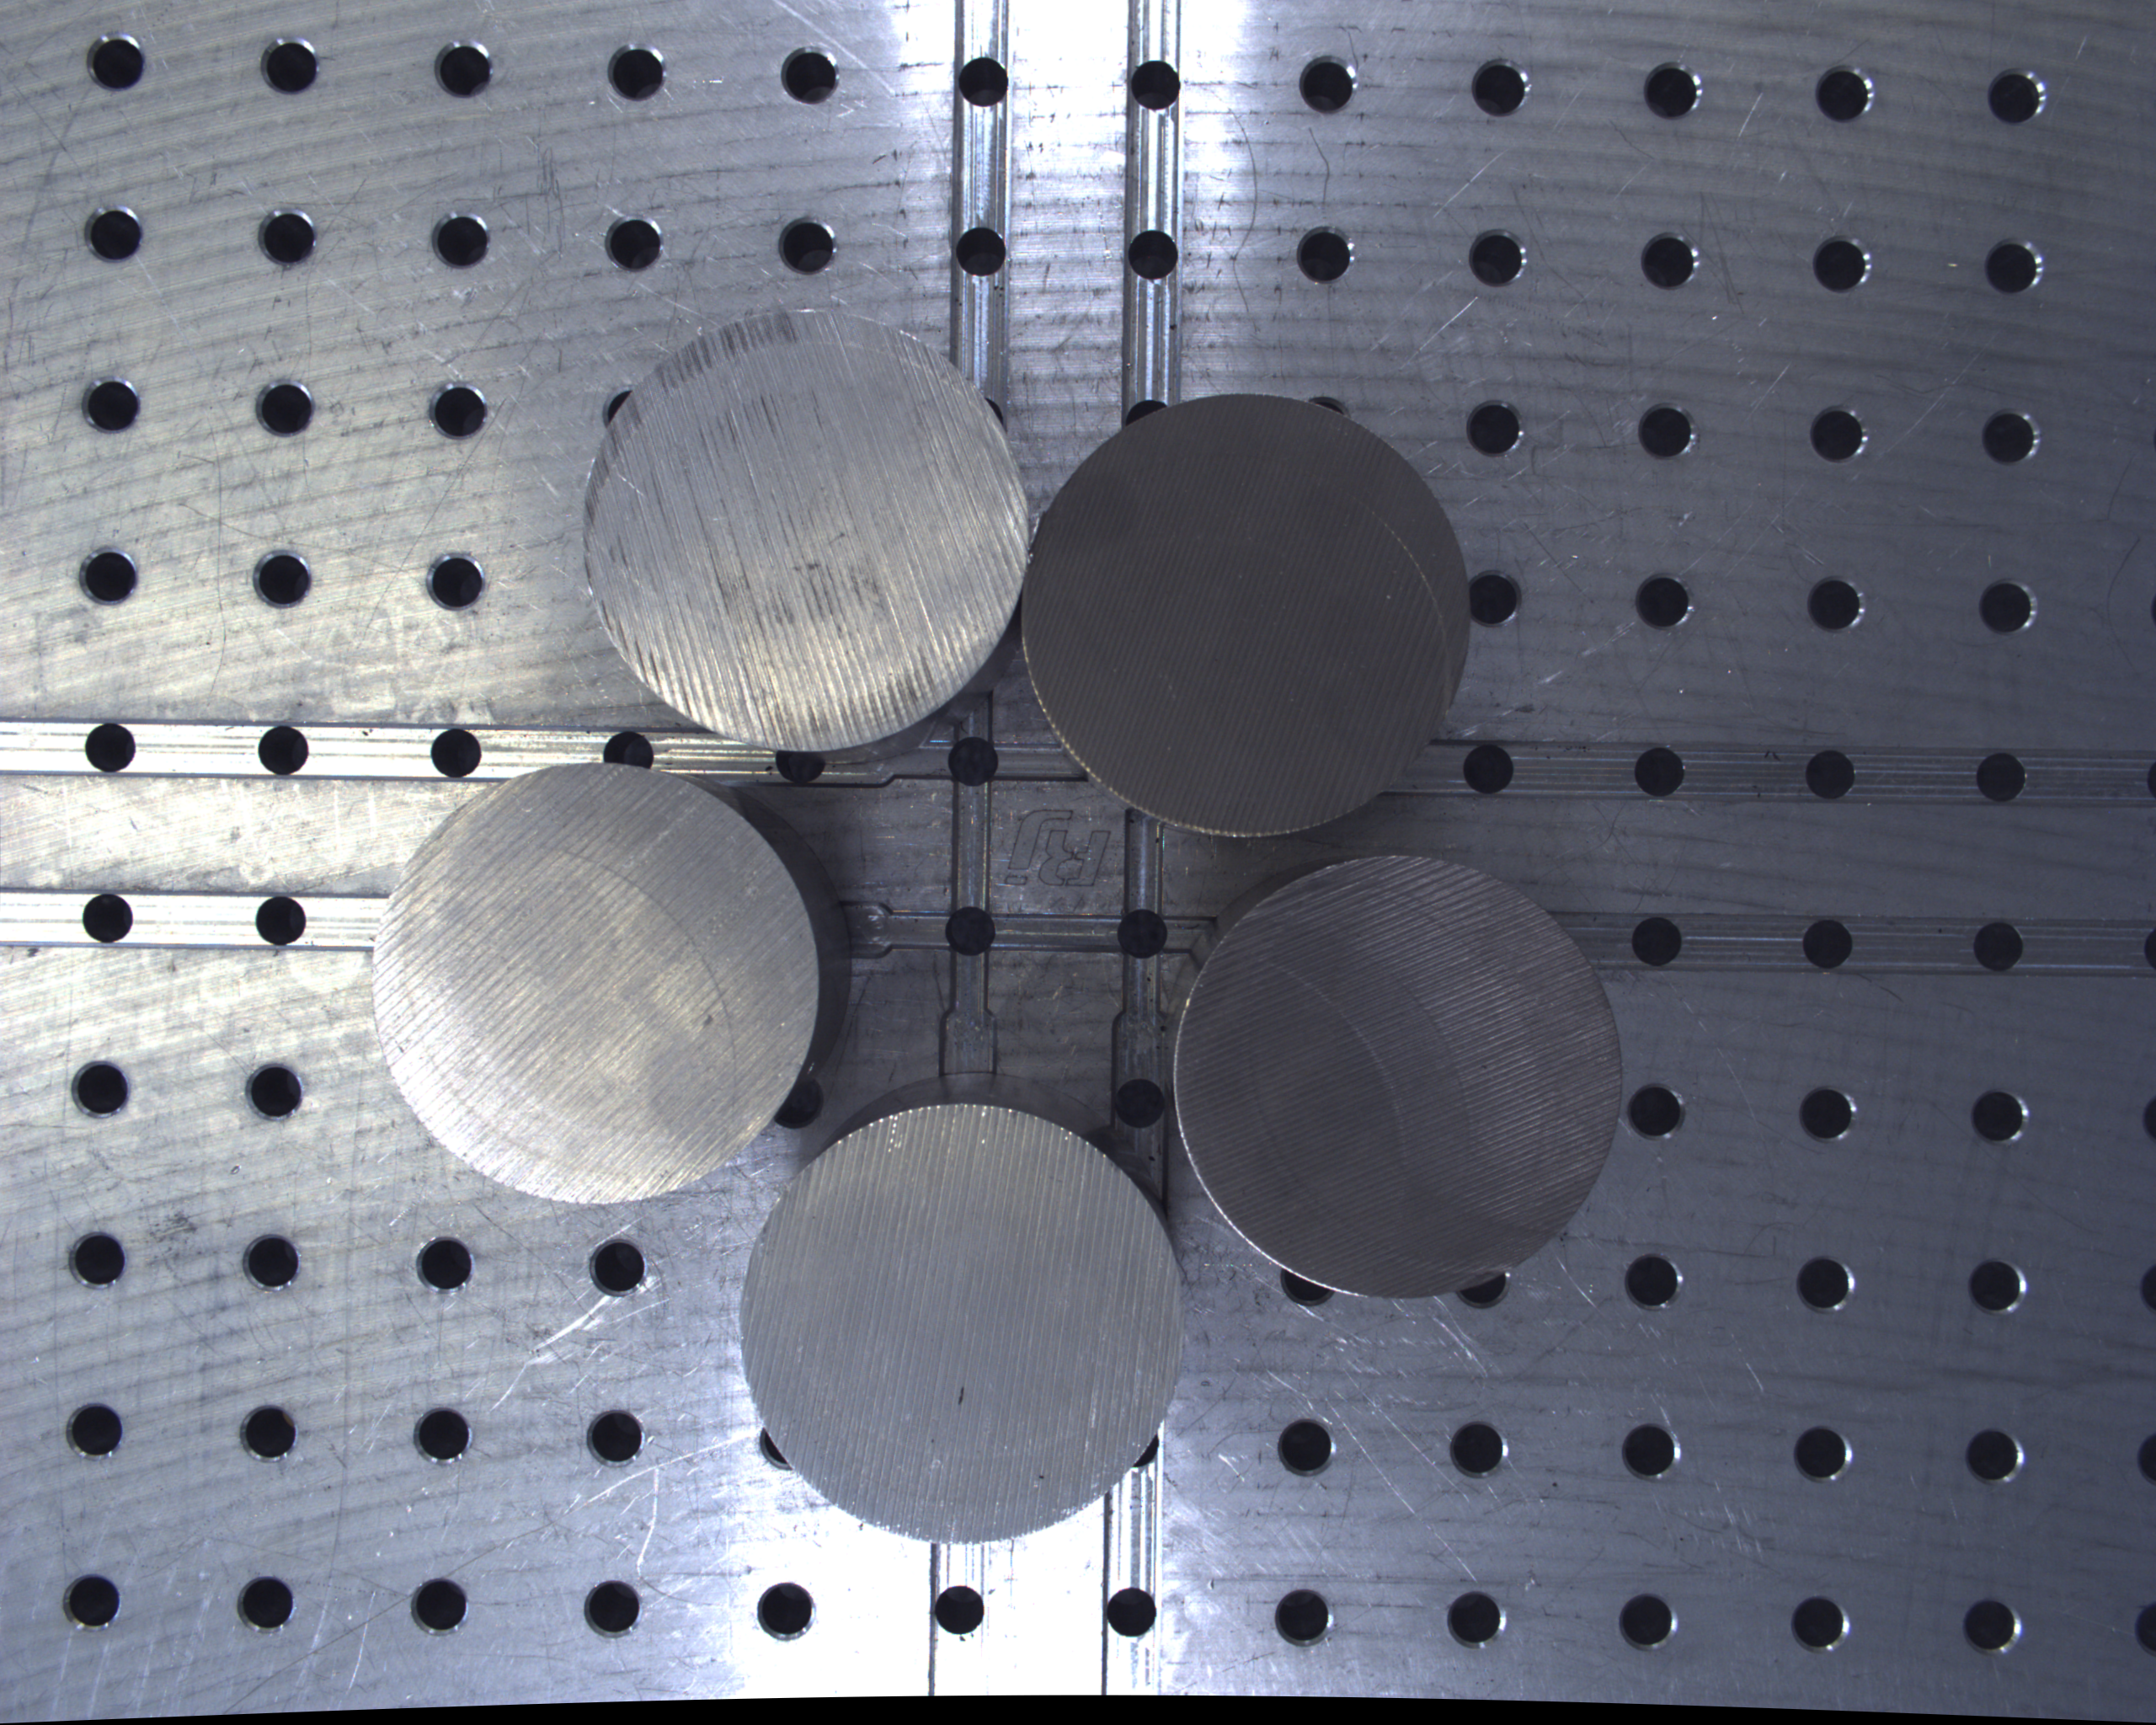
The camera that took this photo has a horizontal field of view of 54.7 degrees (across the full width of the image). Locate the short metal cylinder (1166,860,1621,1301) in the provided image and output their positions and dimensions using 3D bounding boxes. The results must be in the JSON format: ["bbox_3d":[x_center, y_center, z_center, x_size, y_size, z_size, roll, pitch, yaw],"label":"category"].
[{"bbox_3d":[0.057,0.039,0.400,0.081,0.050,0.079,0,91,-1],"label":"short metal cylinder"}]

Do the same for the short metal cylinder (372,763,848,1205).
[{"bbox_3d":[-0.086,0.022,0.400,0.081,0.050,0.079,0,90,0],"label":"short metal cylinder"}]

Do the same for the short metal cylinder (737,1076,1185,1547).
[{"bbox_3d":[-0.021,0.083,0.399,0.081,0.050,0.080,0,90,0],"label":"short metal cylinder"}]

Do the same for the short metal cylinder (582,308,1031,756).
[{"bbox_3d":[-0.049,-0.060,0.400,0.081,0.050,0.079,0,90,-1],"label":"short metal cylinder"}]

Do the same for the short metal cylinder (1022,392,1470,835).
[{"bbox_3d":[0.030,-0.045,0.400,0.081,0.050,0.079,0,90,0],"label":"short metal cylinder"}]
